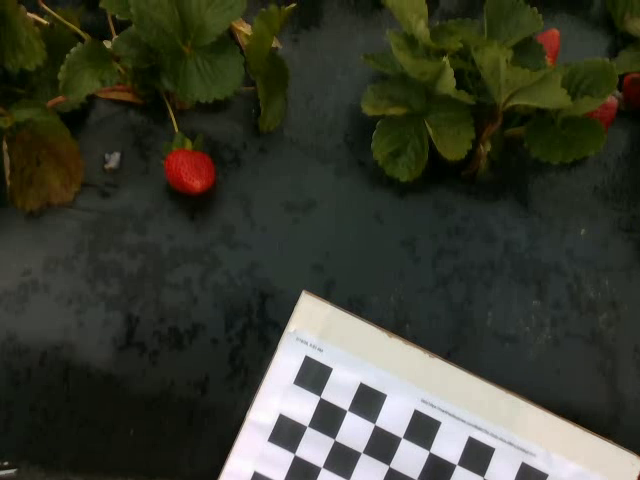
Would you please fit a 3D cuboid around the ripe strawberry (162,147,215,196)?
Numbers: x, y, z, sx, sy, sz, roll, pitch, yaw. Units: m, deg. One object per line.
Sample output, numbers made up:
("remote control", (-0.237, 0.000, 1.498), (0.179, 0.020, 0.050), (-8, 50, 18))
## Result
("ripe strawberry", (-0.104, -0.054, 0.491), (0.045, 0.054, 0.048), (-25, -44, 2))
